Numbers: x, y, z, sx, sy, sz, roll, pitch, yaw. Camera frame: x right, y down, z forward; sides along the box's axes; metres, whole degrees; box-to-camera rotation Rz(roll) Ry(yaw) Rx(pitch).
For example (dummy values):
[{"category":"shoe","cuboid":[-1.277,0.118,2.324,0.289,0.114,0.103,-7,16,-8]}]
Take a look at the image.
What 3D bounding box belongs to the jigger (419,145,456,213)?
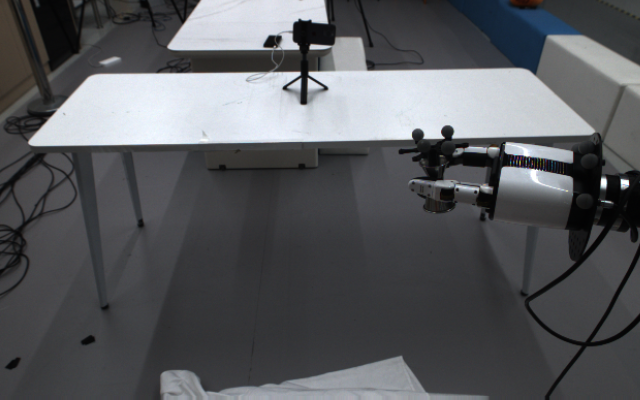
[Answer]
[{"category":"jigger","cuboid":[0.159,-0.024,0.658,0.043,0.071,0.043,-11,23,5]}]
